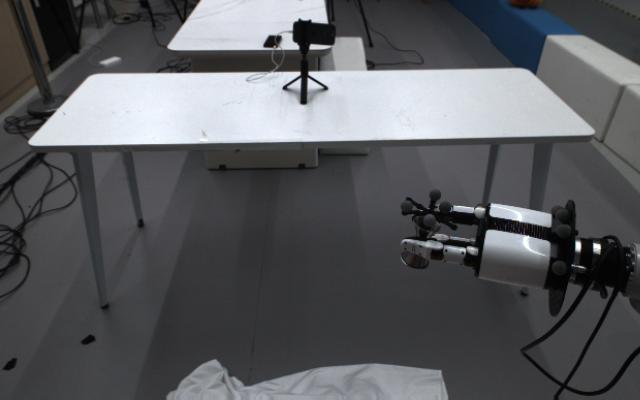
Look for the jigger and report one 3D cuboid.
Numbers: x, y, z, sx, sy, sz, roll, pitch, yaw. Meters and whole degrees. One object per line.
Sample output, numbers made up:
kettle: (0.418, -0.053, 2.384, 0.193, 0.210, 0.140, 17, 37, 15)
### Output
jigger: (0.147, 0.061, 0.714, 0.043, 0.071, 0.043, 10, 30, -6)
